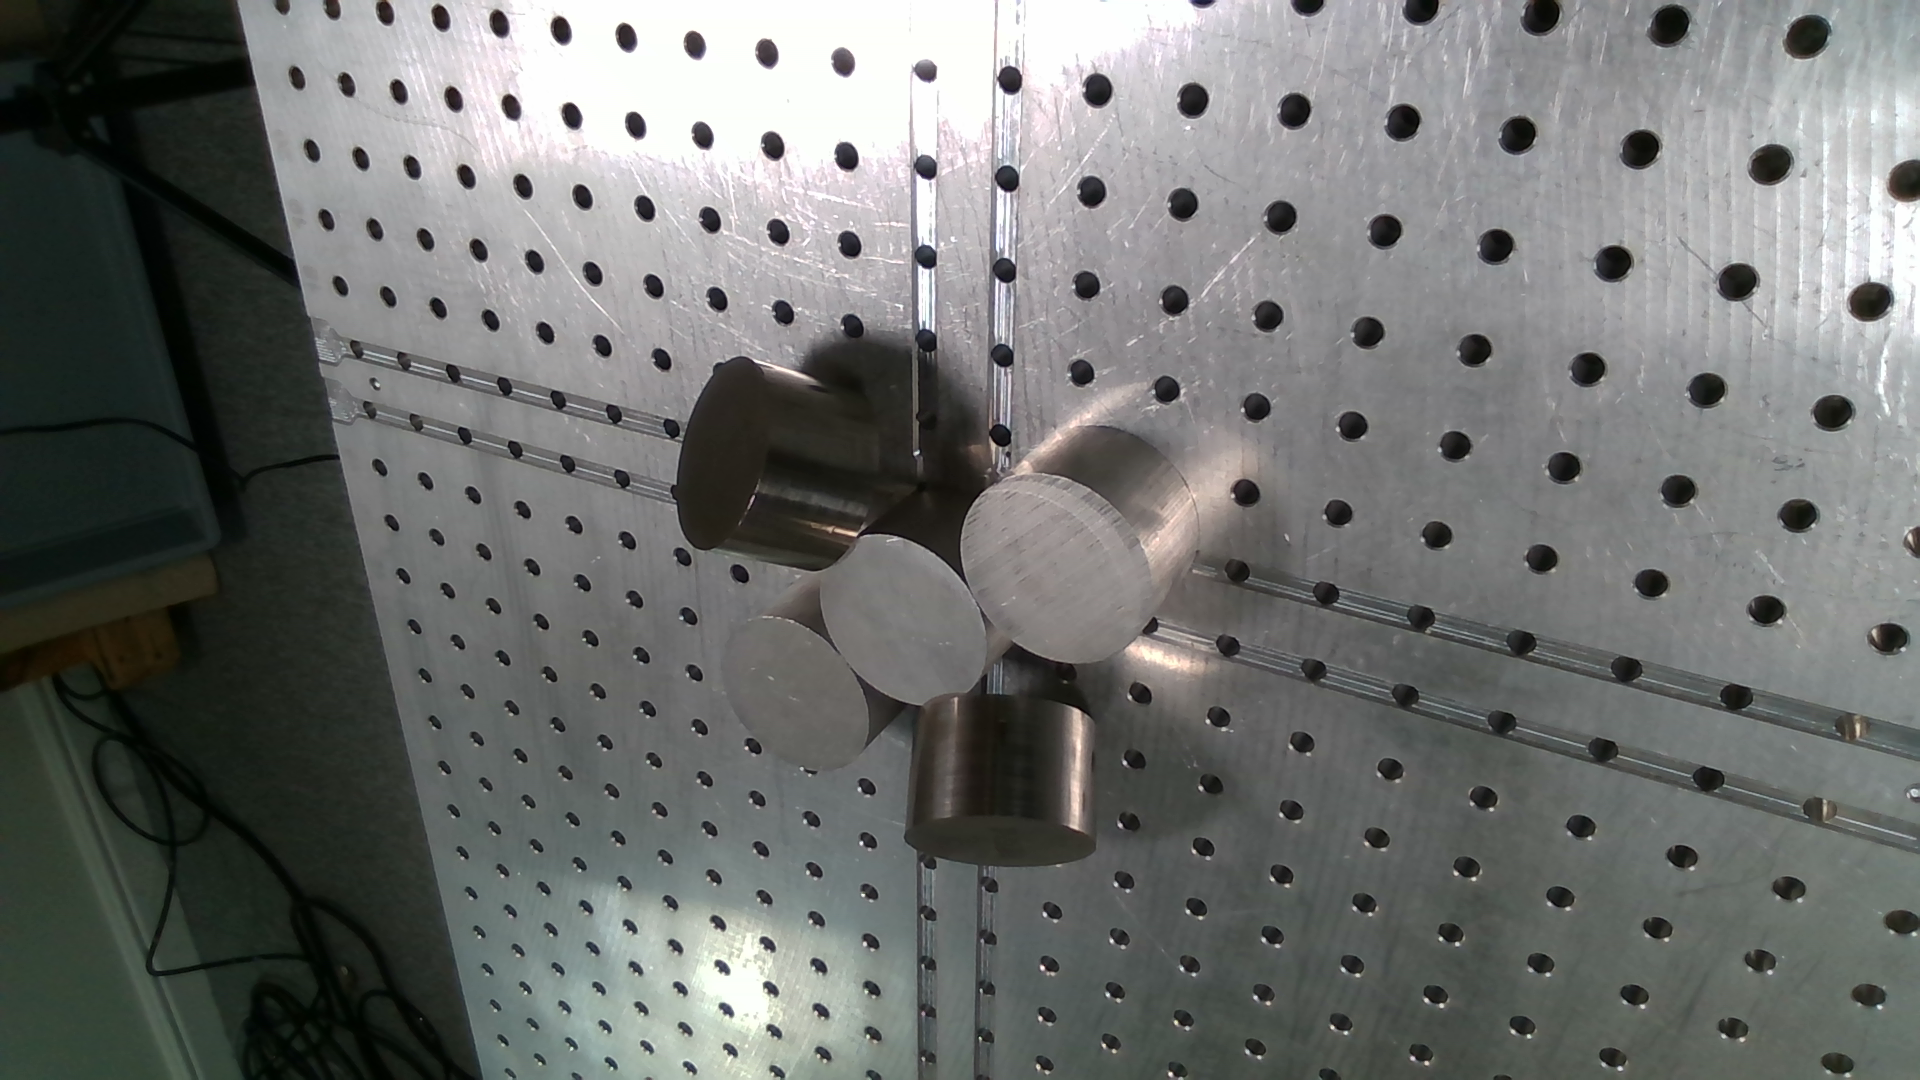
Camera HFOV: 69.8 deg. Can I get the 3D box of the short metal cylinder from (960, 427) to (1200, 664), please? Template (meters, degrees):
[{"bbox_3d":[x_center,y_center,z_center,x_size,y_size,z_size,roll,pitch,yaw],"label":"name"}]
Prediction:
[{"bbox_3d":[0.047,0.001,0.538,0.080,0.050,0.080,14,122,25],"label":"short metal cylinder"}]

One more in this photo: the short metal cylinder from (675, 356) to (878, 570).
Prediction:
[{"bbox_3d":[-0.077,-0.031,0.570,0.080,0.050,0.080,-22,62,50],"label":"short metal cylinder"}]

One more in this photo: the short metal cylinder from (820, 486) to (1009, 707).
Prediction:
[{"bbox_3d":[-0.012,0.024,0.587,0.080,0.050,0.080,14,122,25],"label":"short metal cylinder"}]

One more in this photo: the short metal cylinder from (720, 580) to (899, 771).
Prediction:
[{"bbox_3d":[-0.064,0.059,0.638,0.080,0.050,0.080,14,122,25],"label":"short metal cylinder"}]

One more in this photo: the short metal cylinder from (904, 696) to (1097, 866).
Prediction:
[{"bbox_3d":[0.018,0.104,0.587,0.080,0.050,0.080,3,153,1],"label":"short metal cylinder"}]
